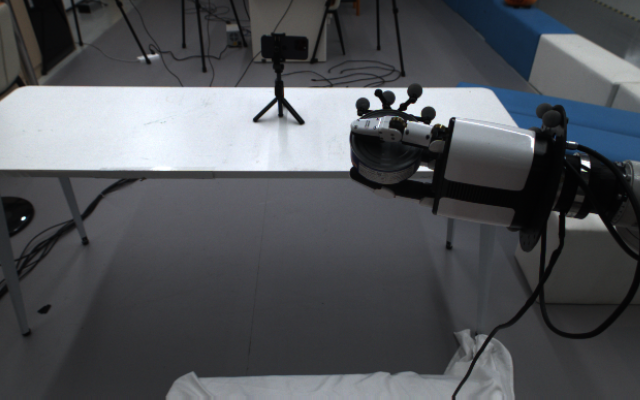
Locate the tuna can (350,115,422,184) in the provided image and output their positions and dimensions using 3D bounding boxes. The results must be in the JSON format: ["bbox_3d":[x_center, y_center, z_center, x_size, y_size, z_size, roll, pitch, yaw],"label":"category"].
[{"bbox_3d":[0.077,-0.066,0.557,0.085,0.034,0.085,-2,56,3],"label":"tuna can"}]
